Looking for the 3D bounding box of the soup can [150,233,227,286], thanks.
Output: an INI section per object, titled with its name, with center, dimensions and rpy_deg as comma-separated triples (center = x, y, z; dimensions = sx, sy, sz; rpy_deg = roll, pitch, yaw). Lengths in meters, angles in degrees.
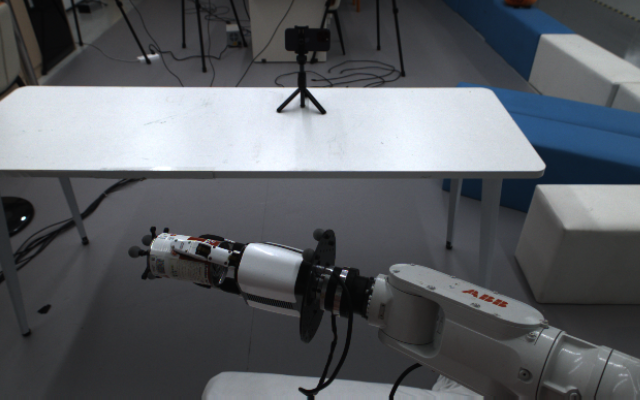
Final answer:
[soup can]
center = -0.191, 0.089, 0.716
dimensions = 0.101, 0.067, 0.067
rpy_deg = 7, 35, 10
